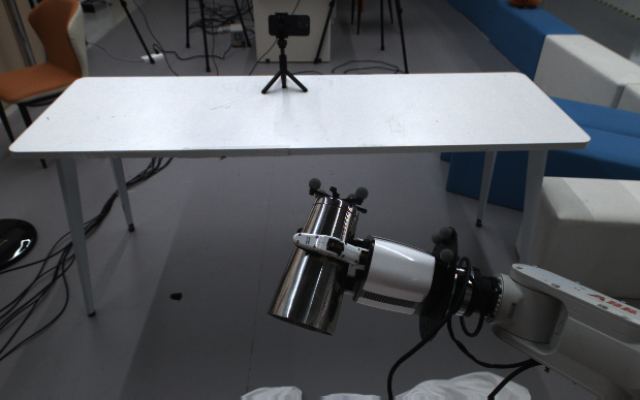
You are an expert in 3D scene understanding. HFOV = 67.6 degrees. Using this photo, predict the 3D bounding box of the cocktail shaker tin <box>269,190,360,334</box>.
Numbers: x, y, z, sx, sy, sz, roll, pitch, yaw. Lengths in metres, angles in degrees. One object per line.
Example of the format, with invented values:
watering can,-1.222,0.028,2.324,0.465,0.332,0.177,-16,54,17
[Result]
cocktail shaker tin,-0.003,0.085,0.653,0.093,0.093,0.170,13,70,16
